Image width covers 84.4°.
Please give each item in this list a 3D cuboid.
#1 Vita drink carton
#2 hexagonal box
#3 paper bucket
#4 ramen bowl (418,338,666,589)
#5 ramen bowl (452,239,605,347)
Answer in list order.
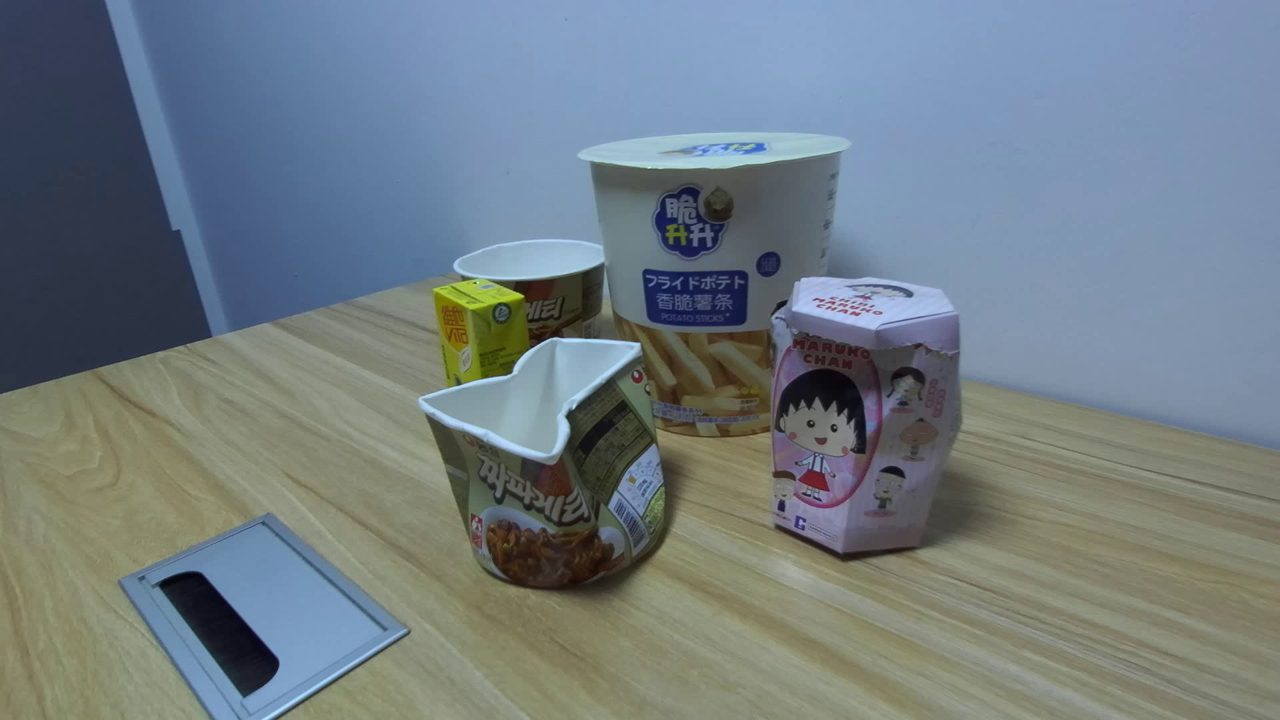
[{"bbox_3d":[-0.111,0.002,0.514,0.044,0.109,0.066,-18,27,-34],"label":"Vita drink carton"},{"bbox_3d":[0.119,0.028,0.388,0.090,0.134,0.091,-2,22,-5],"label":"hexagonal box"},{"bbox_3d":[0.056,-0.060,0.530,0.198,0.195,0.198,-2,22,1],"label":"paper bucket"},{"bbox_3d":[-0.040,0.052,0.399,0.111,0.093,0.129,14,29,34],"label":"ramen bowl"},{"bbox_3d":[-0.095,-0.052,0.661,0.140,0.095,0.140,-3,24,1],"label":"ramen bowl"}]
